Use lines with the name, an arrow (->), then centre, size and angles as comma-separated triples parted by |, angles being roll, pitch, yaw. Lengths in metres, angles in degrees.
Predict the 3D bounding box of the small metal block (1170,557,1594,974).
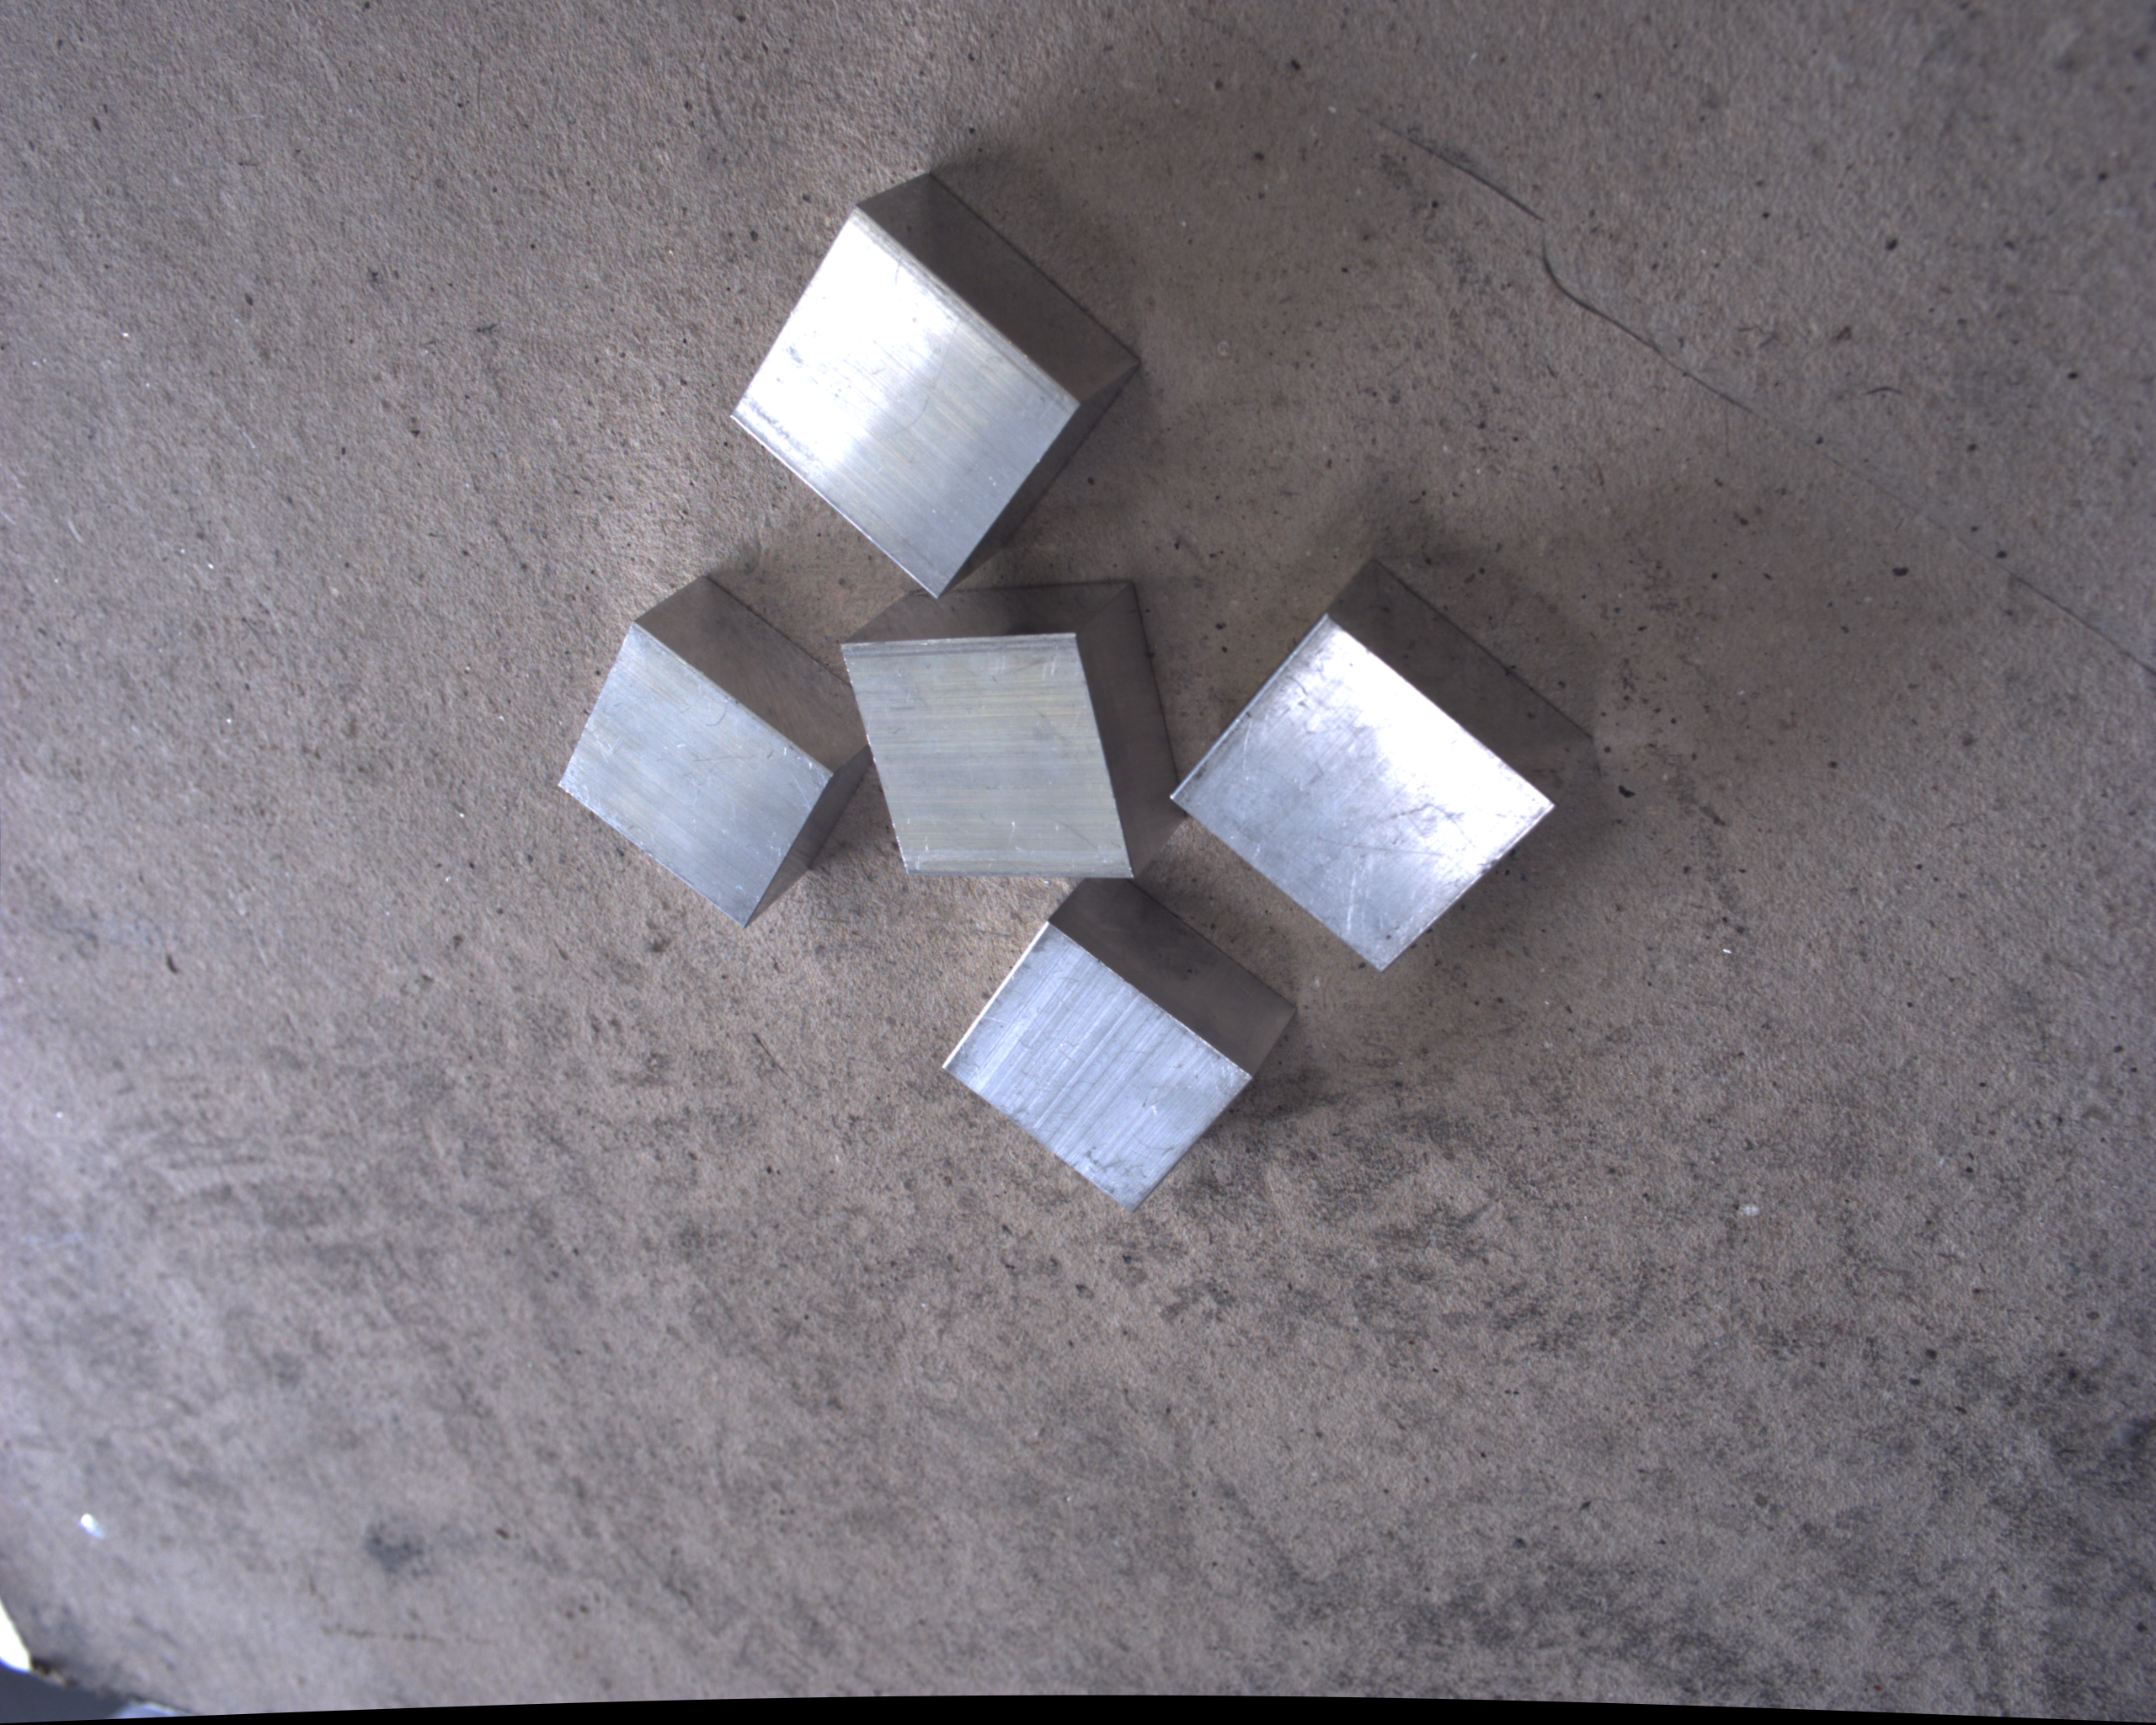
small metal block -> 0.053, -0.017, 0.371 | 0.050, 0.025, 0.050 | 40, 129, 1

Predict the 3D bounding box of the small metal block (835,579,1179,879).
small metal block -> -0.012, -0.025, 0.399 | 0.050, 0.025, 0.050 | 1, 119, 28

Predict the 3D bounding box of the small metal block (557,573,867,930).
small metal block -> -0.074, -0.023, 0.433 | 0.050, 0.025, 0.050 | 37, 128, 3

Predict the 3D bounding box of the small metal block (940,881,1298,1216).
small metal block -> 0.008, 0.036, 0.427 | 0.050, 0.025, 0.050 | 37, 128, 2

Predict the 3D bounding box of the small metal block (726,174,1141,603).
small metal block -> -0.026, -0.083, 0.370 | 0.050, 0.025, 0.050 | 42, 129, 0
